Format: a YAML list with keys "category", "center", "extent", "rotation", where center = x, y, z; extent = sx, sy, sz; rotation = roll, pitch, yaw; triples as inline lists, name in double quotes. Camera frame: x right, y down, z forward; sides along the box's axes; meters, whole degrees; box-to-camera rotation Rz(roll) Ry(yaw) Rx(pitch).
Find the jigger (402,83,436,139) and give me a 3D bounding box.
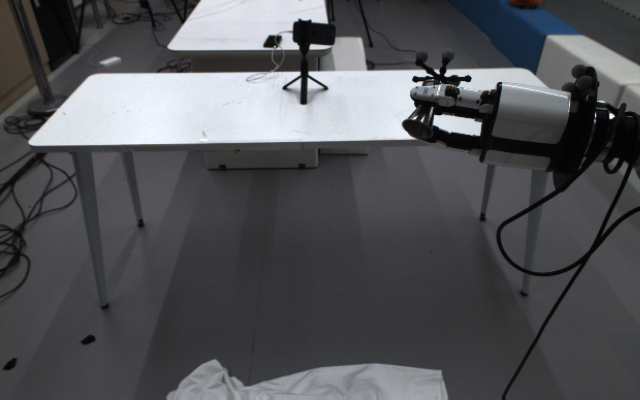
- category: "jigger"
  center: [0.144, -0.127, 0.655]
  extent: [0.043, 0.043, 0.071]
  rotation: [20, 73, 24]
